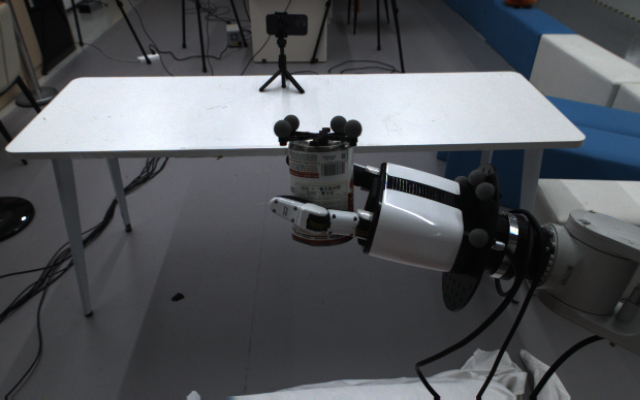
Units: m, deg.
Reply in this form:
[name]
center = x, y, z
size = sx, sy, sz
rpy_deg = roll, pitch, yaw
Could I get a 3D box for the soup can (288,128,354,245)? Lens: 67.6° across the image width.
[soup can]
center = 0.005, -0.010, 0.503
size = 0.067, 0.101, 0.067
rpy_deg = -1, 17, 0
